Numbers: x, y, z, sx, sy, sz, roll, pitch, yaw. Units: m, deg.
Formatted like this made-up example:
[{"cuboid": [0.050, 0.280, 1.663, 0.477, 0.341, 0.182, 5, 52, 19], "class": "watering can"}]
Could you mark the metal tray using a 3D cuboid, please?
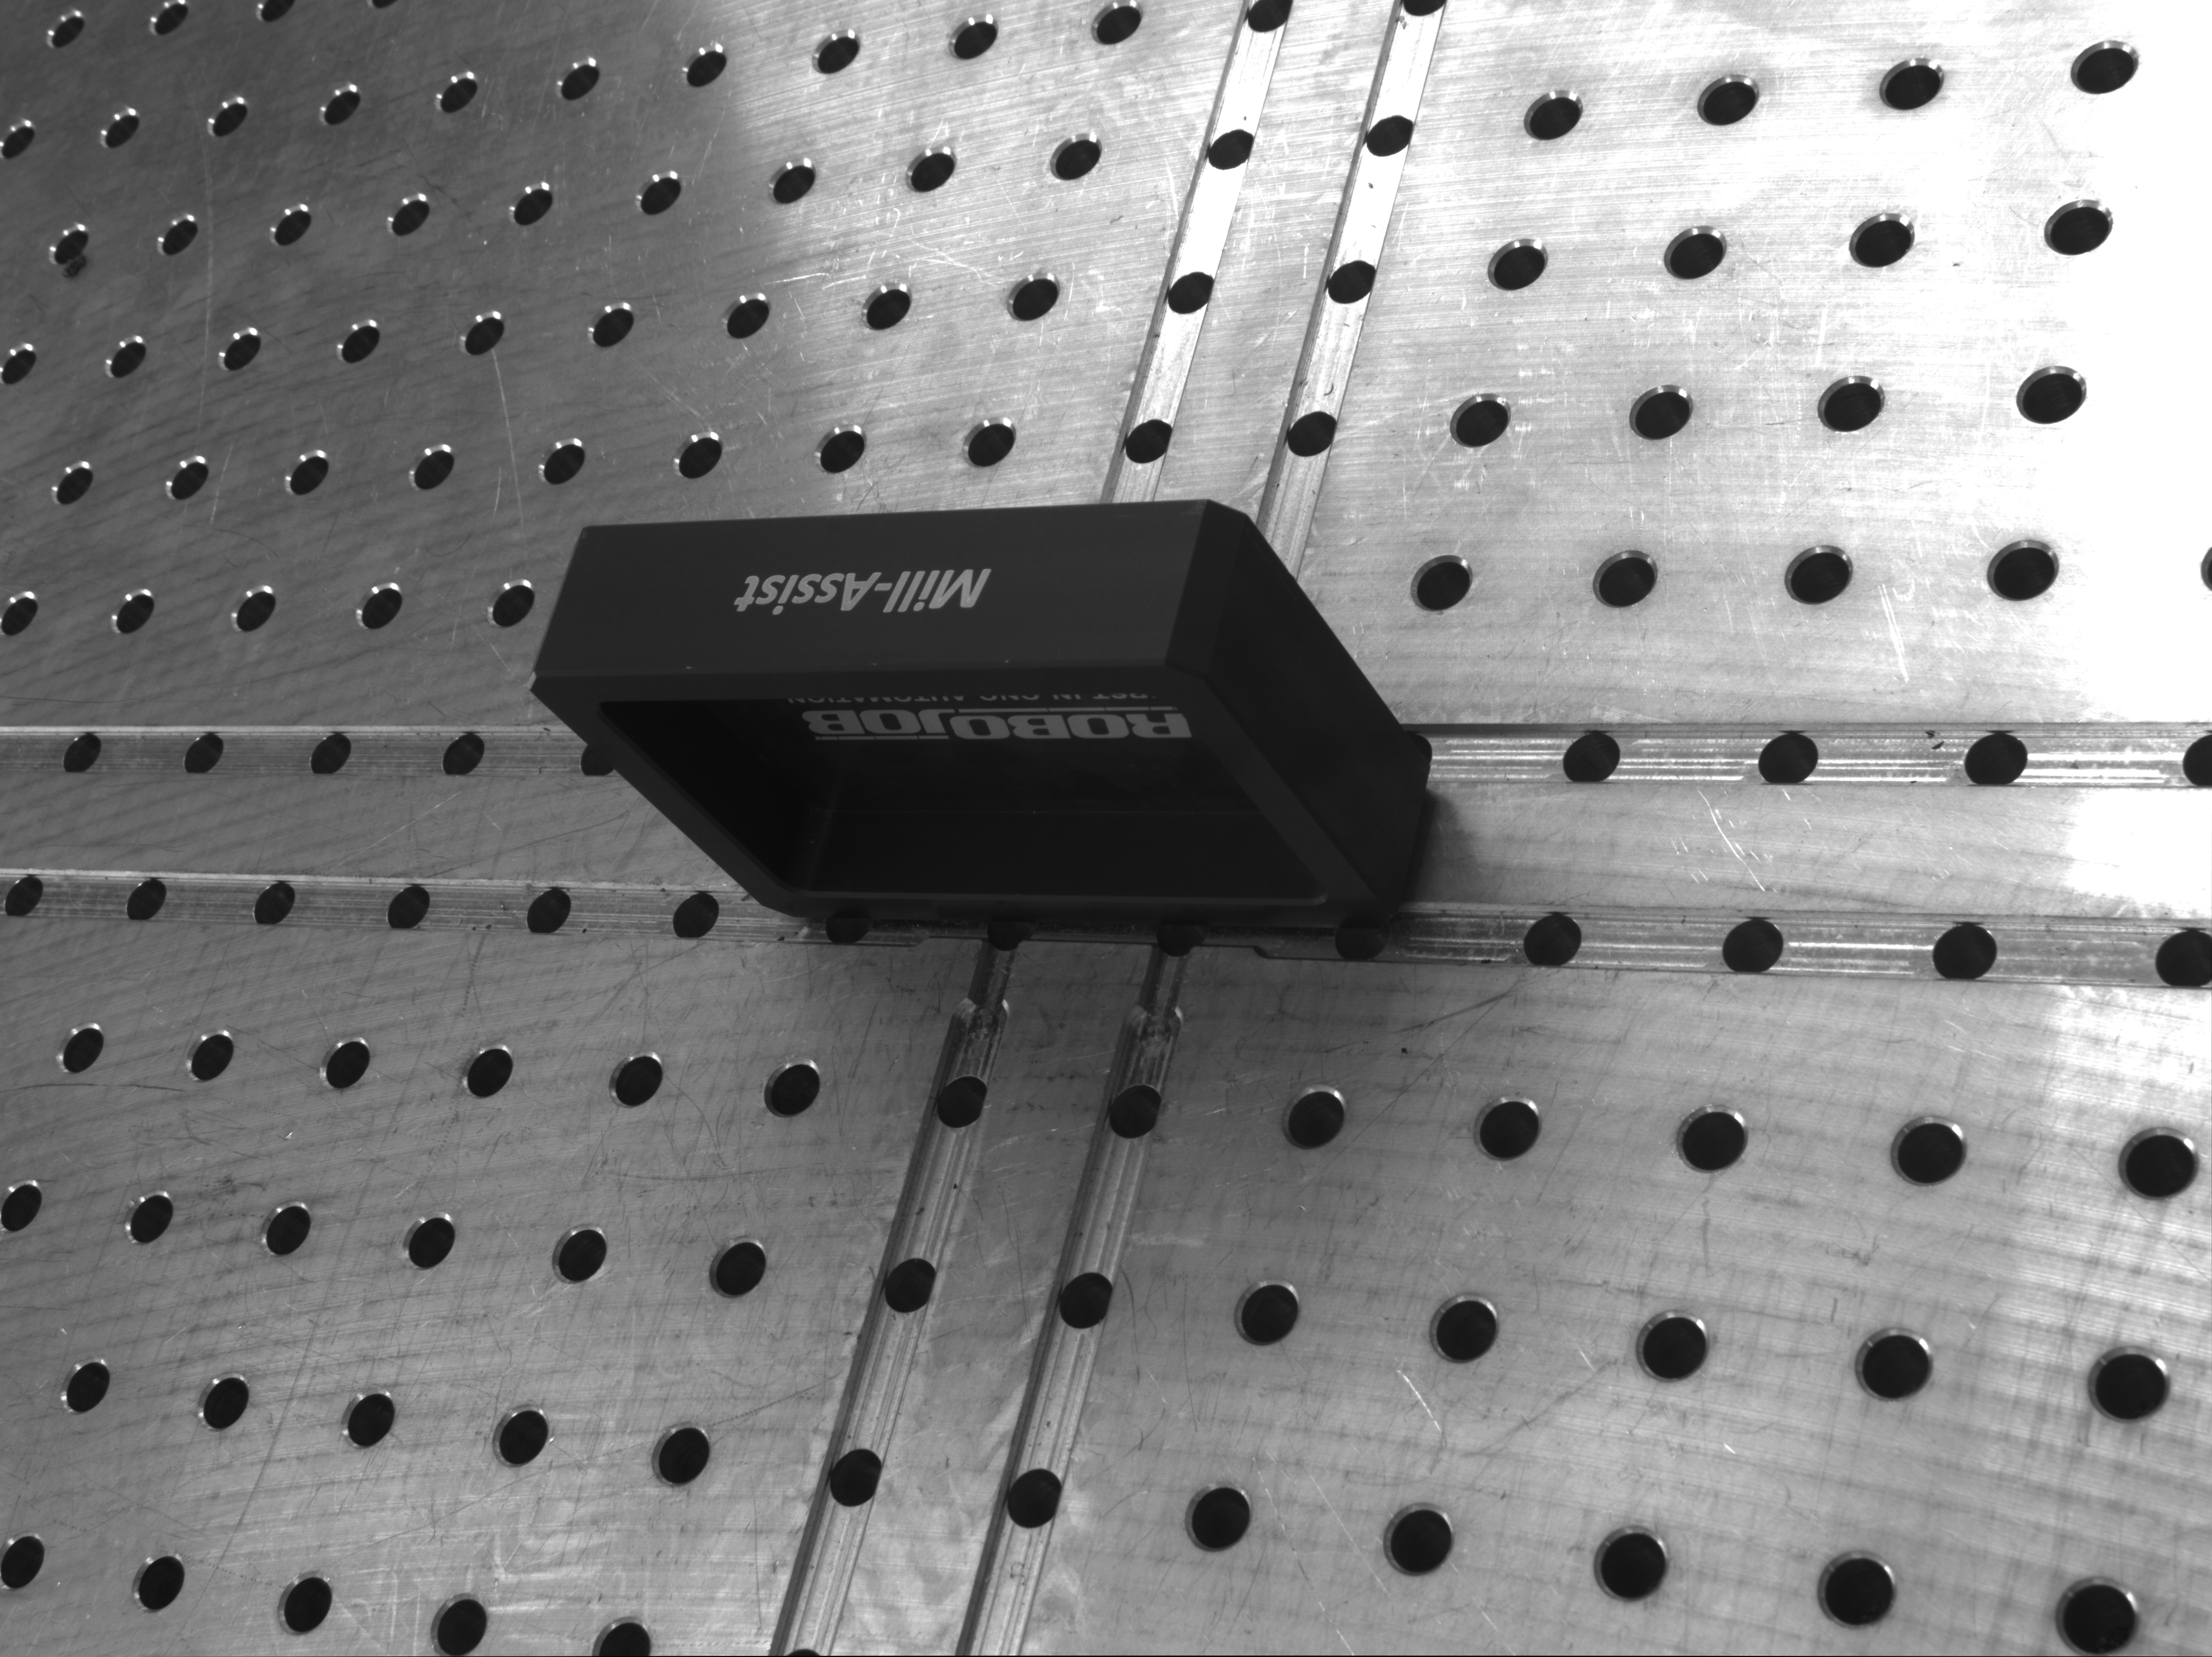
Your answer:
[{"cuboid": [-0.021, -0.017, 0.628, 0.130, 0.090, 0.030, 0, 62, 29], "class": "metal tray"}]
